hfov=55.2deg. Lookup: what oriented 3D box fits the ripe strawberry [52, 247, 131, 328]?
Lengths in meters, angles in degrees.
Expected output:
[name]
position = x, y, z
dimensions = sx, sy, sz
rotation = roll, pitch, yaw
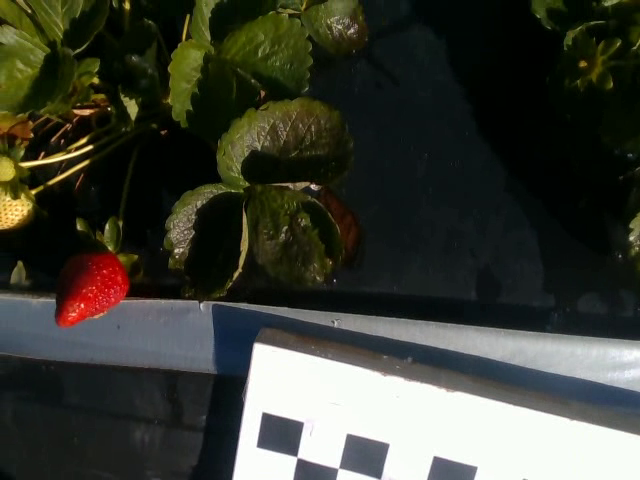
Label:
[ripe strawberry]
position = -0.106, 0.025, 0.271
dimensions = 0.036, 0.038, 0.045
rotation = 11, 36, 8
